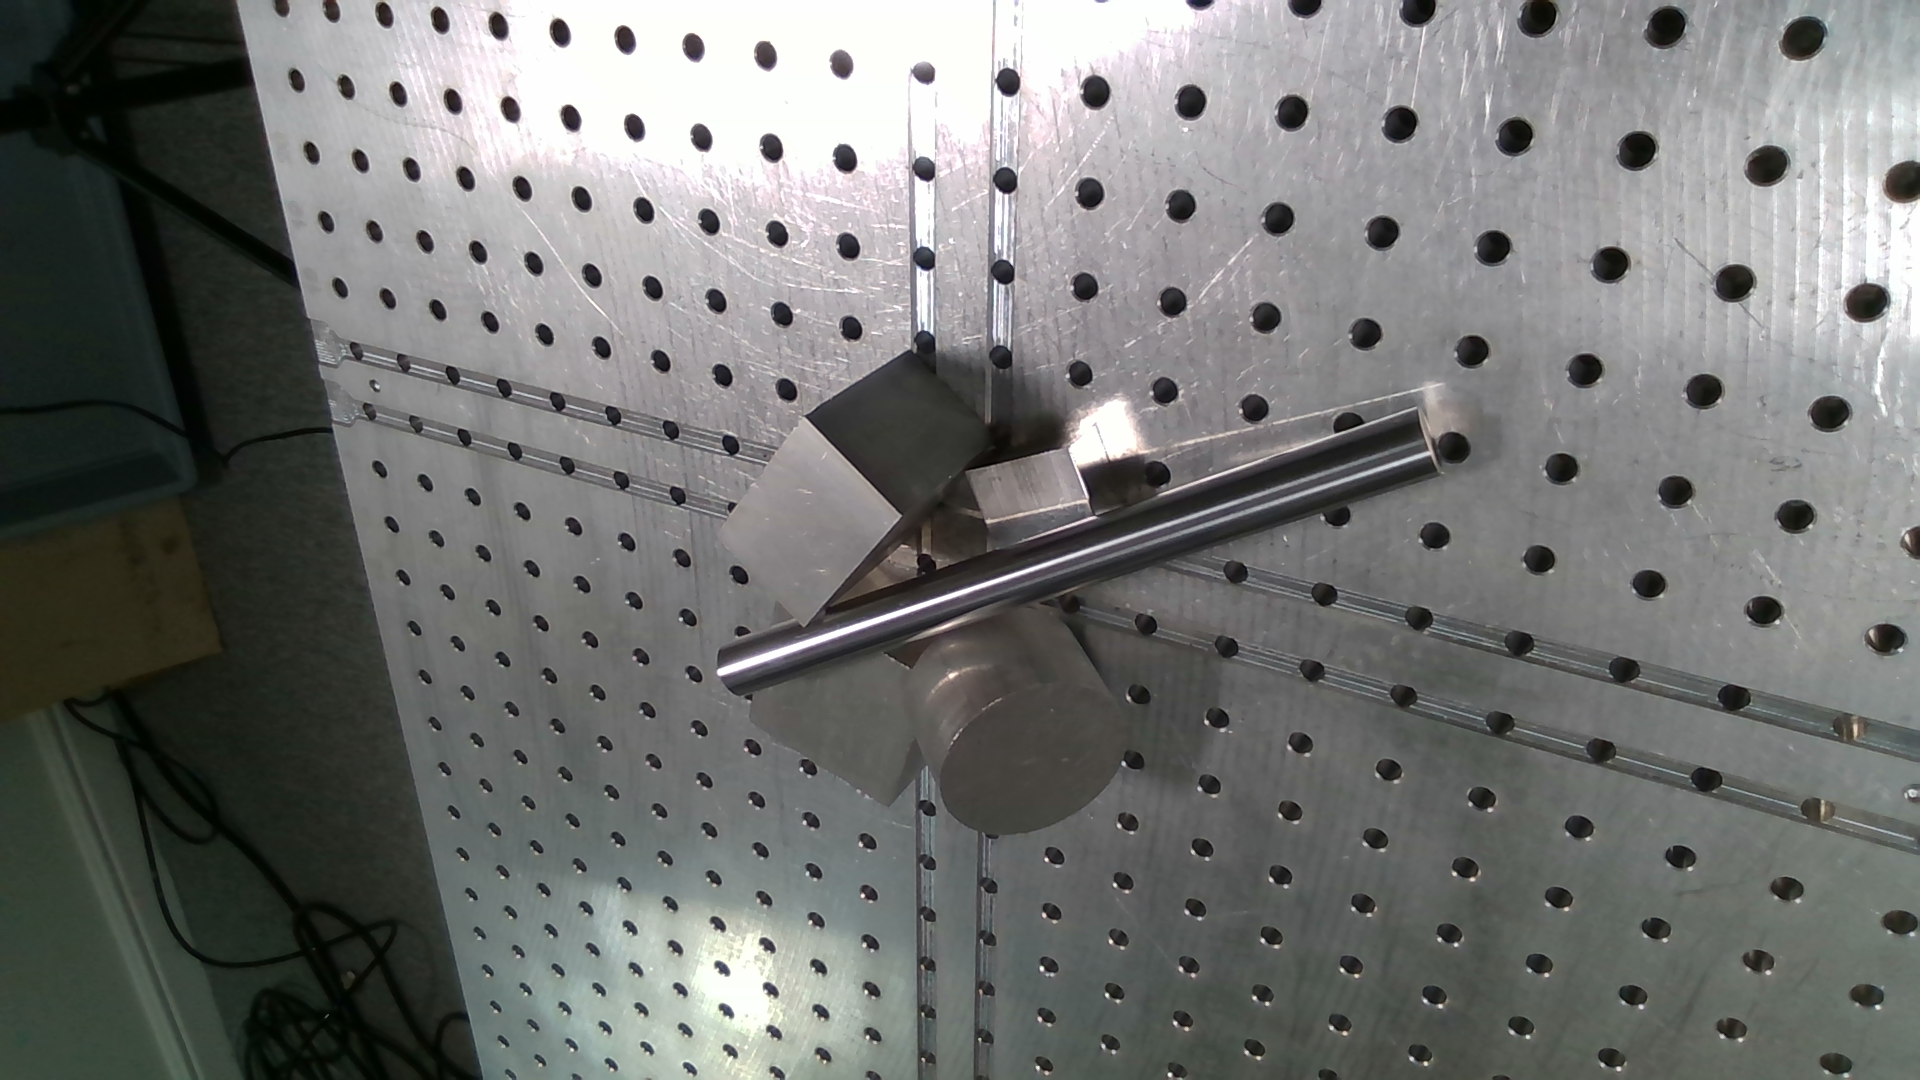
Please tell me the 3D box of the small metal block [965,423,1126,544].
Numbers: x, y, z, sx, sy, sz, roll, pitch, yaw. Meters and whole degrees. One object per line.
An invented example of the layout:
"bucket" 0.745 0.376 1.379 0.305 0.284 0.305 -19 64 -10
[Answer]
"small metal block" 0.037 -0.015 0.553 0.050 0.025 0.050 -11 109 35

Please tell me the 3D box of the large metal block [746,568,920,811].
"large metal block" -0.044 0.062 0.627 0.080 0.050 0.080 30 127 15

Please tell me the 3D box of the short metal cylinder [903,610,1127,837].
"short metal cylinder" 0.022 0.075 0.567 0.050 0.080 0.080 -119 31 -51

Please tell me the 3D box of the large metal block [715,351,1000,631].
"large metal block" -0.041 -0.021 0.561 0.050 0.080 0.080 45 129 3

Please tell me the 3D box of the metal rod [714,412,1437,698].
"metal rod" 0.030 0.012 0.532 0.300 0.025 0.025 -19 104 25
